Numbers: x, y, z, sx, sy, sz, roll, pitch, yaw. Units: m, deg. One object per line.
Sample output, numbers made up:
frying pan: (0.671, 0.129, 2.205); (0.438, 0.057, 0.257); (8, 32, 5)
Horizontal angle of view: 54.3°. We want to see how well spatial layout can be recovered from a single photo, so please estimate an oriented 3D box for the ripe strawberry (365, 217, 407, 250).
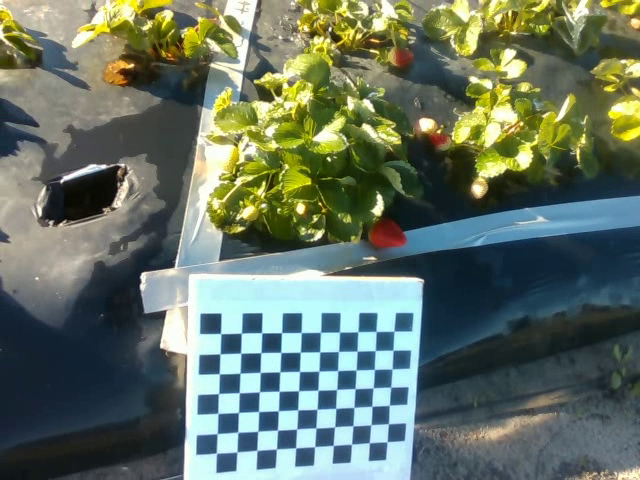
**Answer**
ripe strawberry: (0.087, -0.007, 0.789); (0.063, 0.045, 0.048); (27, 0, 45)
